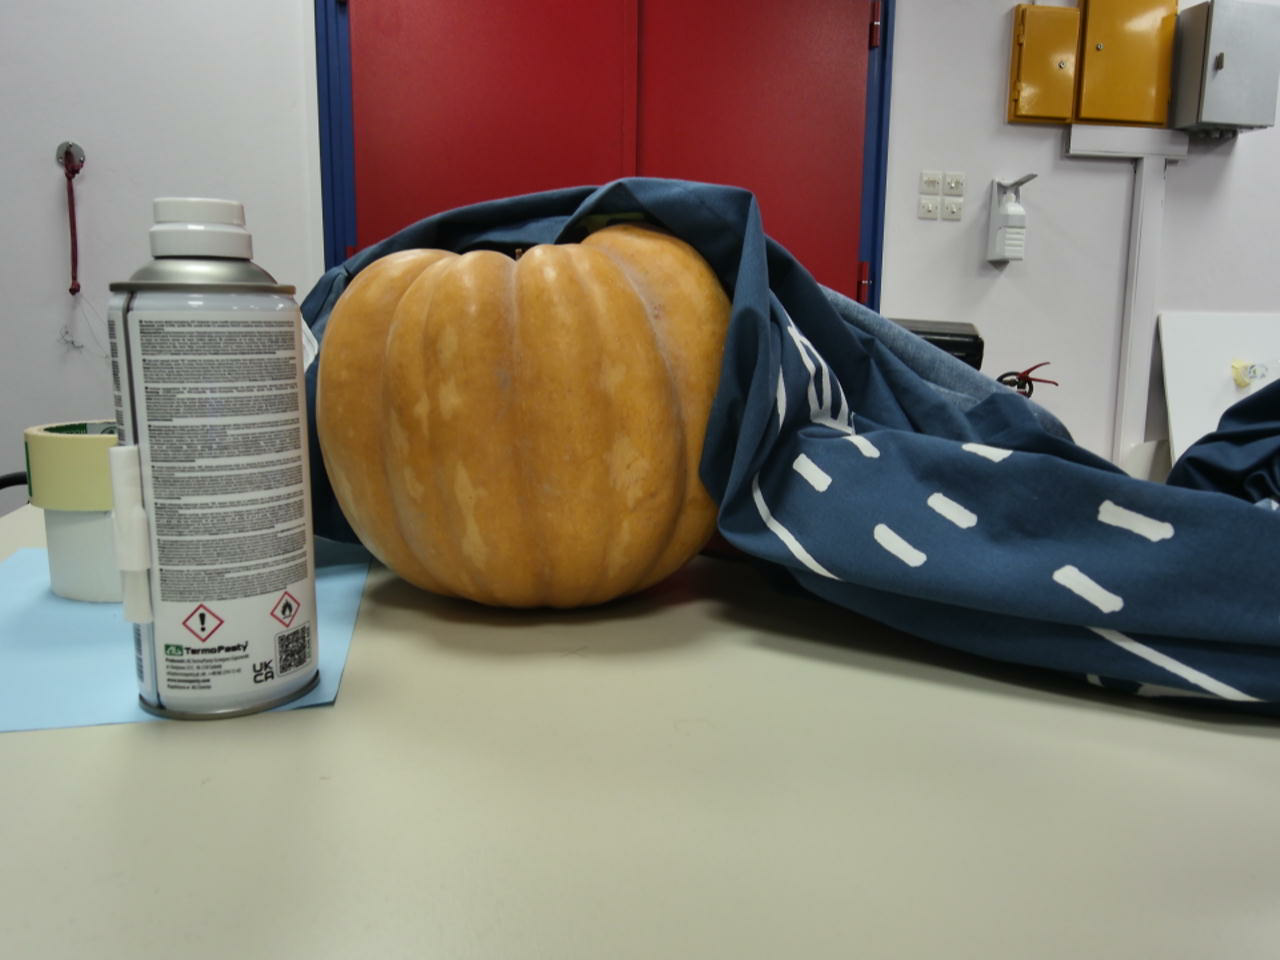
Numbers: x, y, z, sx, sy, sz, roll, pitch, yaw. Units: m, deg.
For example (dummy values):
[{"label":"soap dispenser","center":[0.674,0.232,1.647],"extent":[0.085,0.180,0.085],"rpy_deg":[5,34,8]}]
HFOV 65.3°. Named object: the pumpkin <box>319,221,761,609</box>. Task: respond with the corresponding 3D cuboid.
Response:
[{"label":"pumpkin","center":[-0.047,-0.034,0.524],"extent":[0.230,0.194,0.230],"rpy_deg":[0,7,0]}]
